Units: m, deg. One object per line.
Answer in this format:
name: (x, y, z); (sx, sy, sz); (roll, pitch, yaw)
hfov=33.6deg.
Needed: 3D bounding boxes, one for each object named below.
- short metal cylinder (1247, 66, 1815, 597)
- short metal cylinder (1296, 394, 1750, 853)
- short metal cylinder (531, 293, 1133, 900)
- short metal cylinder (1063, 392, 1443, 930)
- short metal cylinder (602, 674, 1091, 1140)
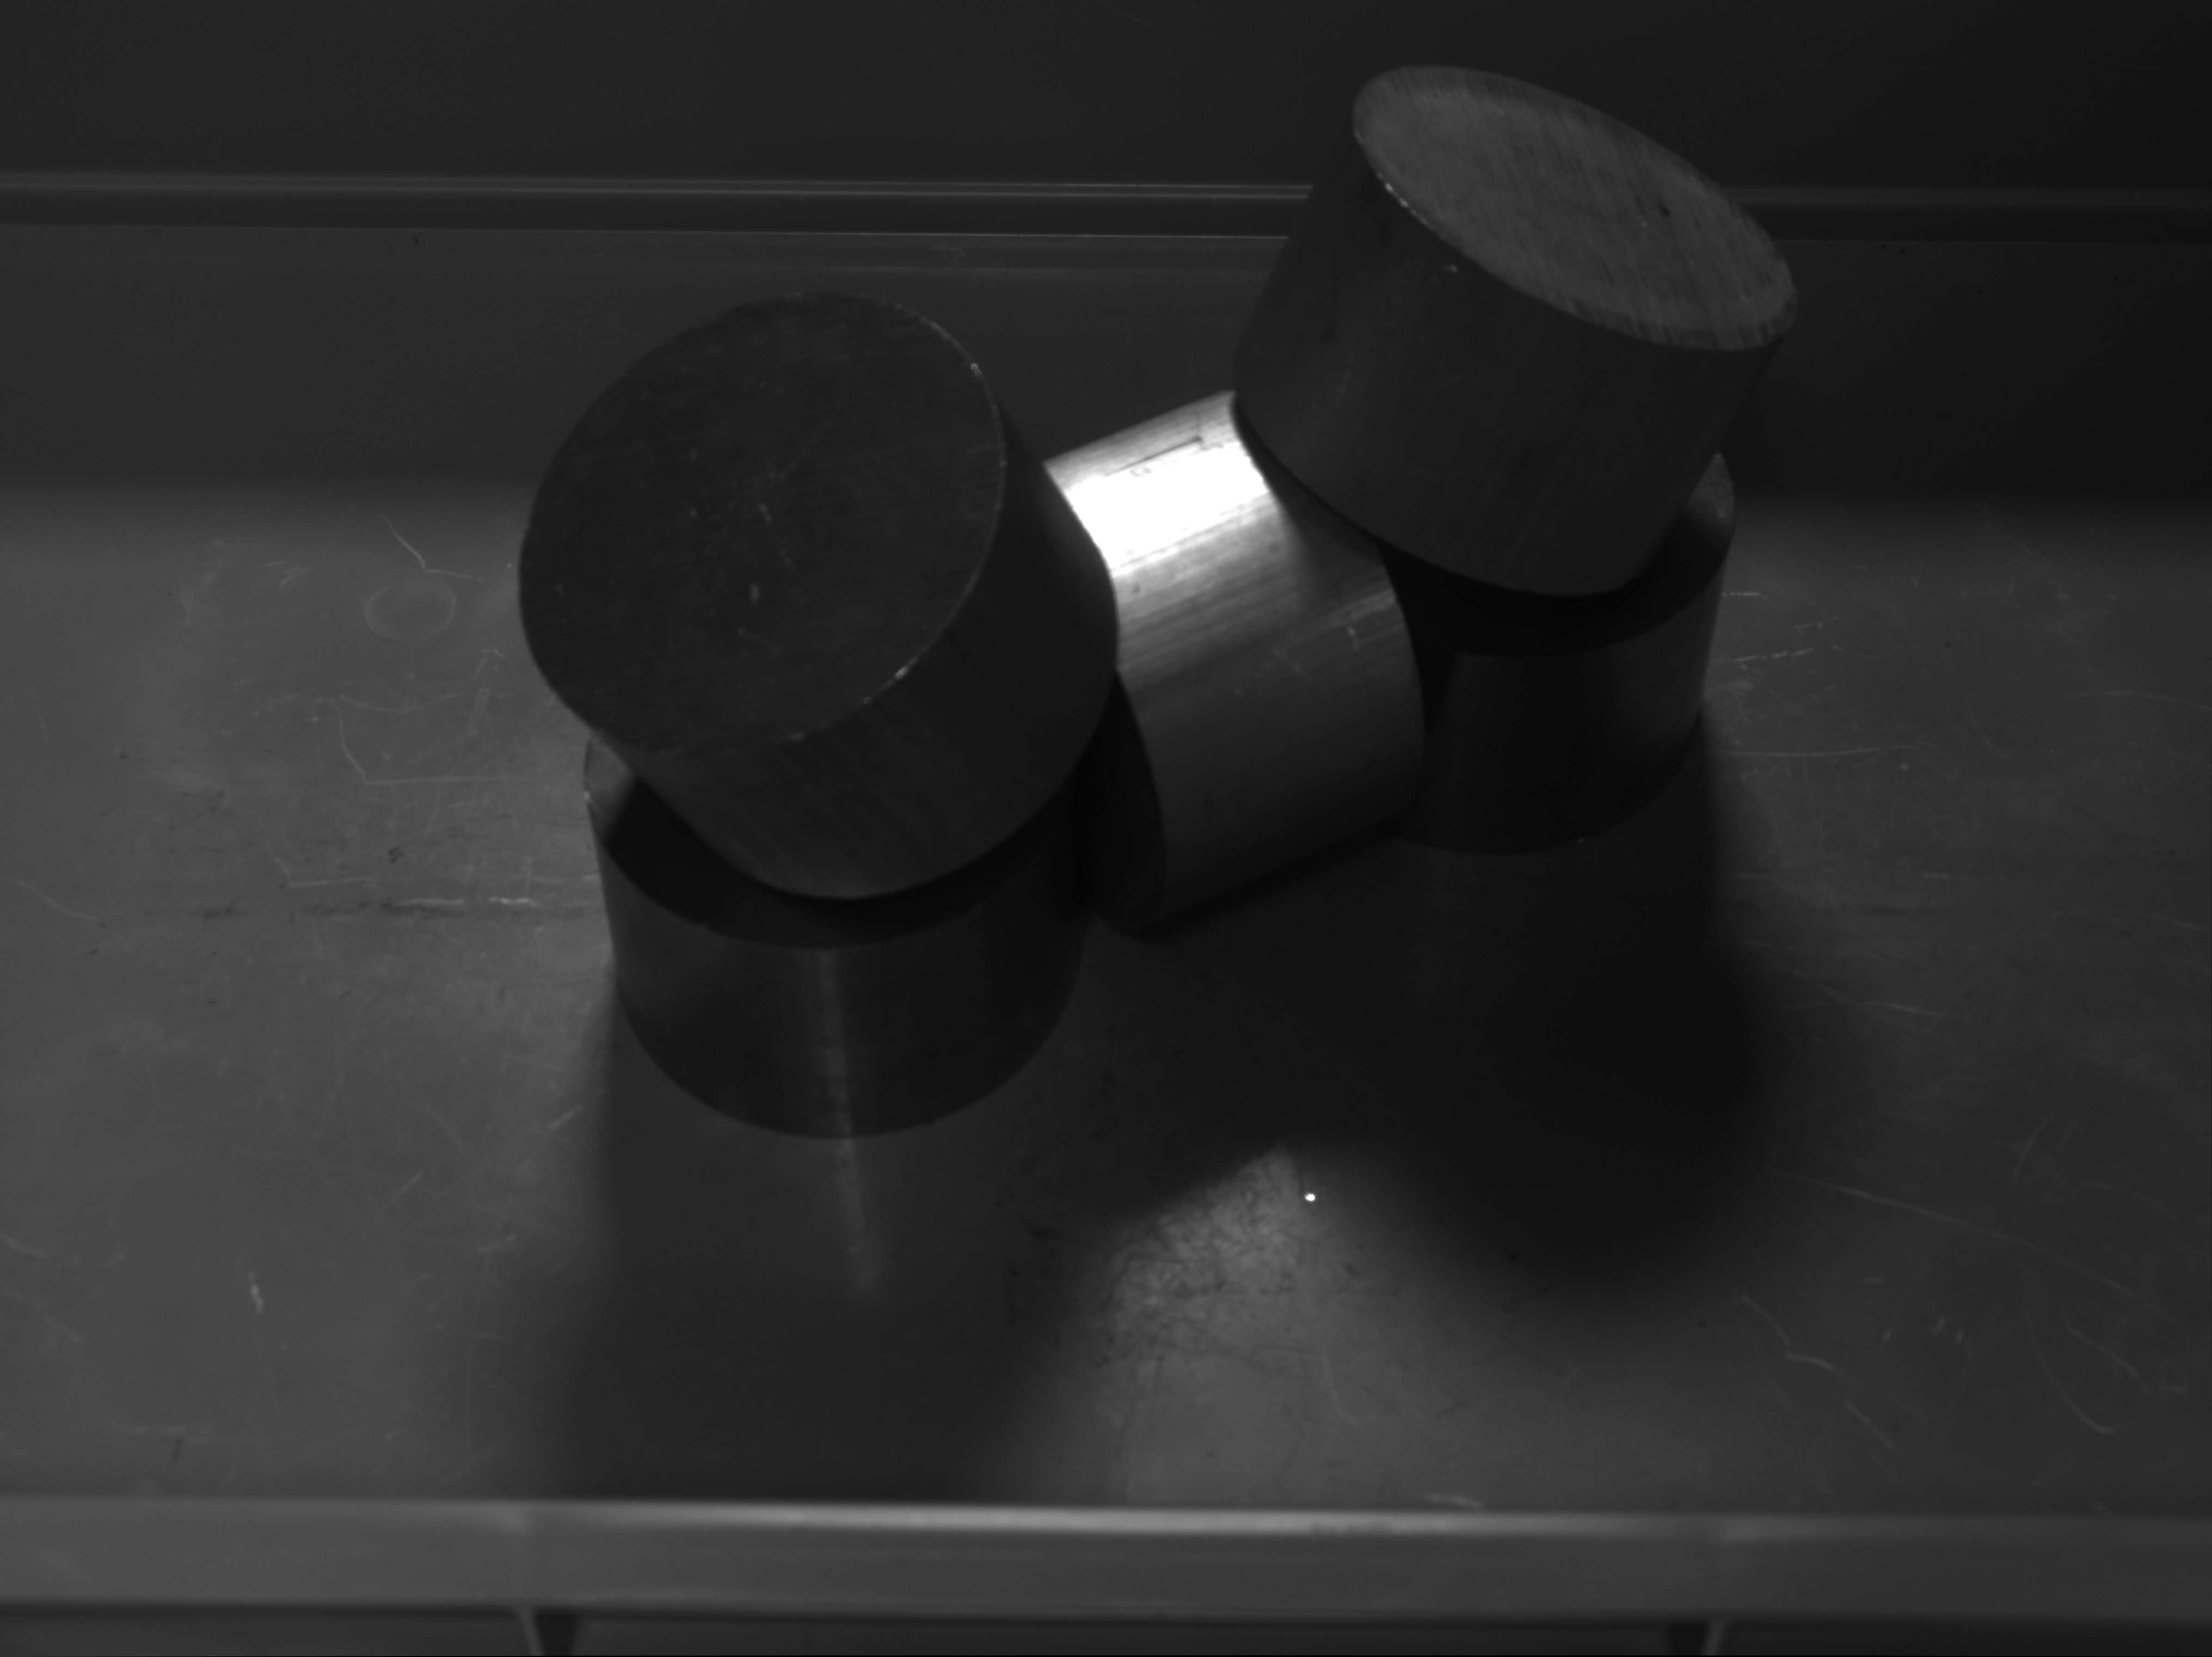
short metal cylinder: (0.070, -0.083, 0.609); (0.080, 0.050, 0.080); (17, 35, -13)
short metal cylinder: (0.073, -0.042, 0.660); (0.080, 0.050, 0.080); (0, 50, 0)
short metal cylinder: (-0.042, -0.036, 0.570); (0.080, 0.050, 0.080); (-9, 61, 17)
short metal cylinder: (0.015, -0.029, 0.629); (0.050, 0.080, 0.080); (-23, 54, -18)
short metal cylinder: (-0.042, 0.005, 0.619); (0.080, 0.050, 0.080); (0, 50, 0)
